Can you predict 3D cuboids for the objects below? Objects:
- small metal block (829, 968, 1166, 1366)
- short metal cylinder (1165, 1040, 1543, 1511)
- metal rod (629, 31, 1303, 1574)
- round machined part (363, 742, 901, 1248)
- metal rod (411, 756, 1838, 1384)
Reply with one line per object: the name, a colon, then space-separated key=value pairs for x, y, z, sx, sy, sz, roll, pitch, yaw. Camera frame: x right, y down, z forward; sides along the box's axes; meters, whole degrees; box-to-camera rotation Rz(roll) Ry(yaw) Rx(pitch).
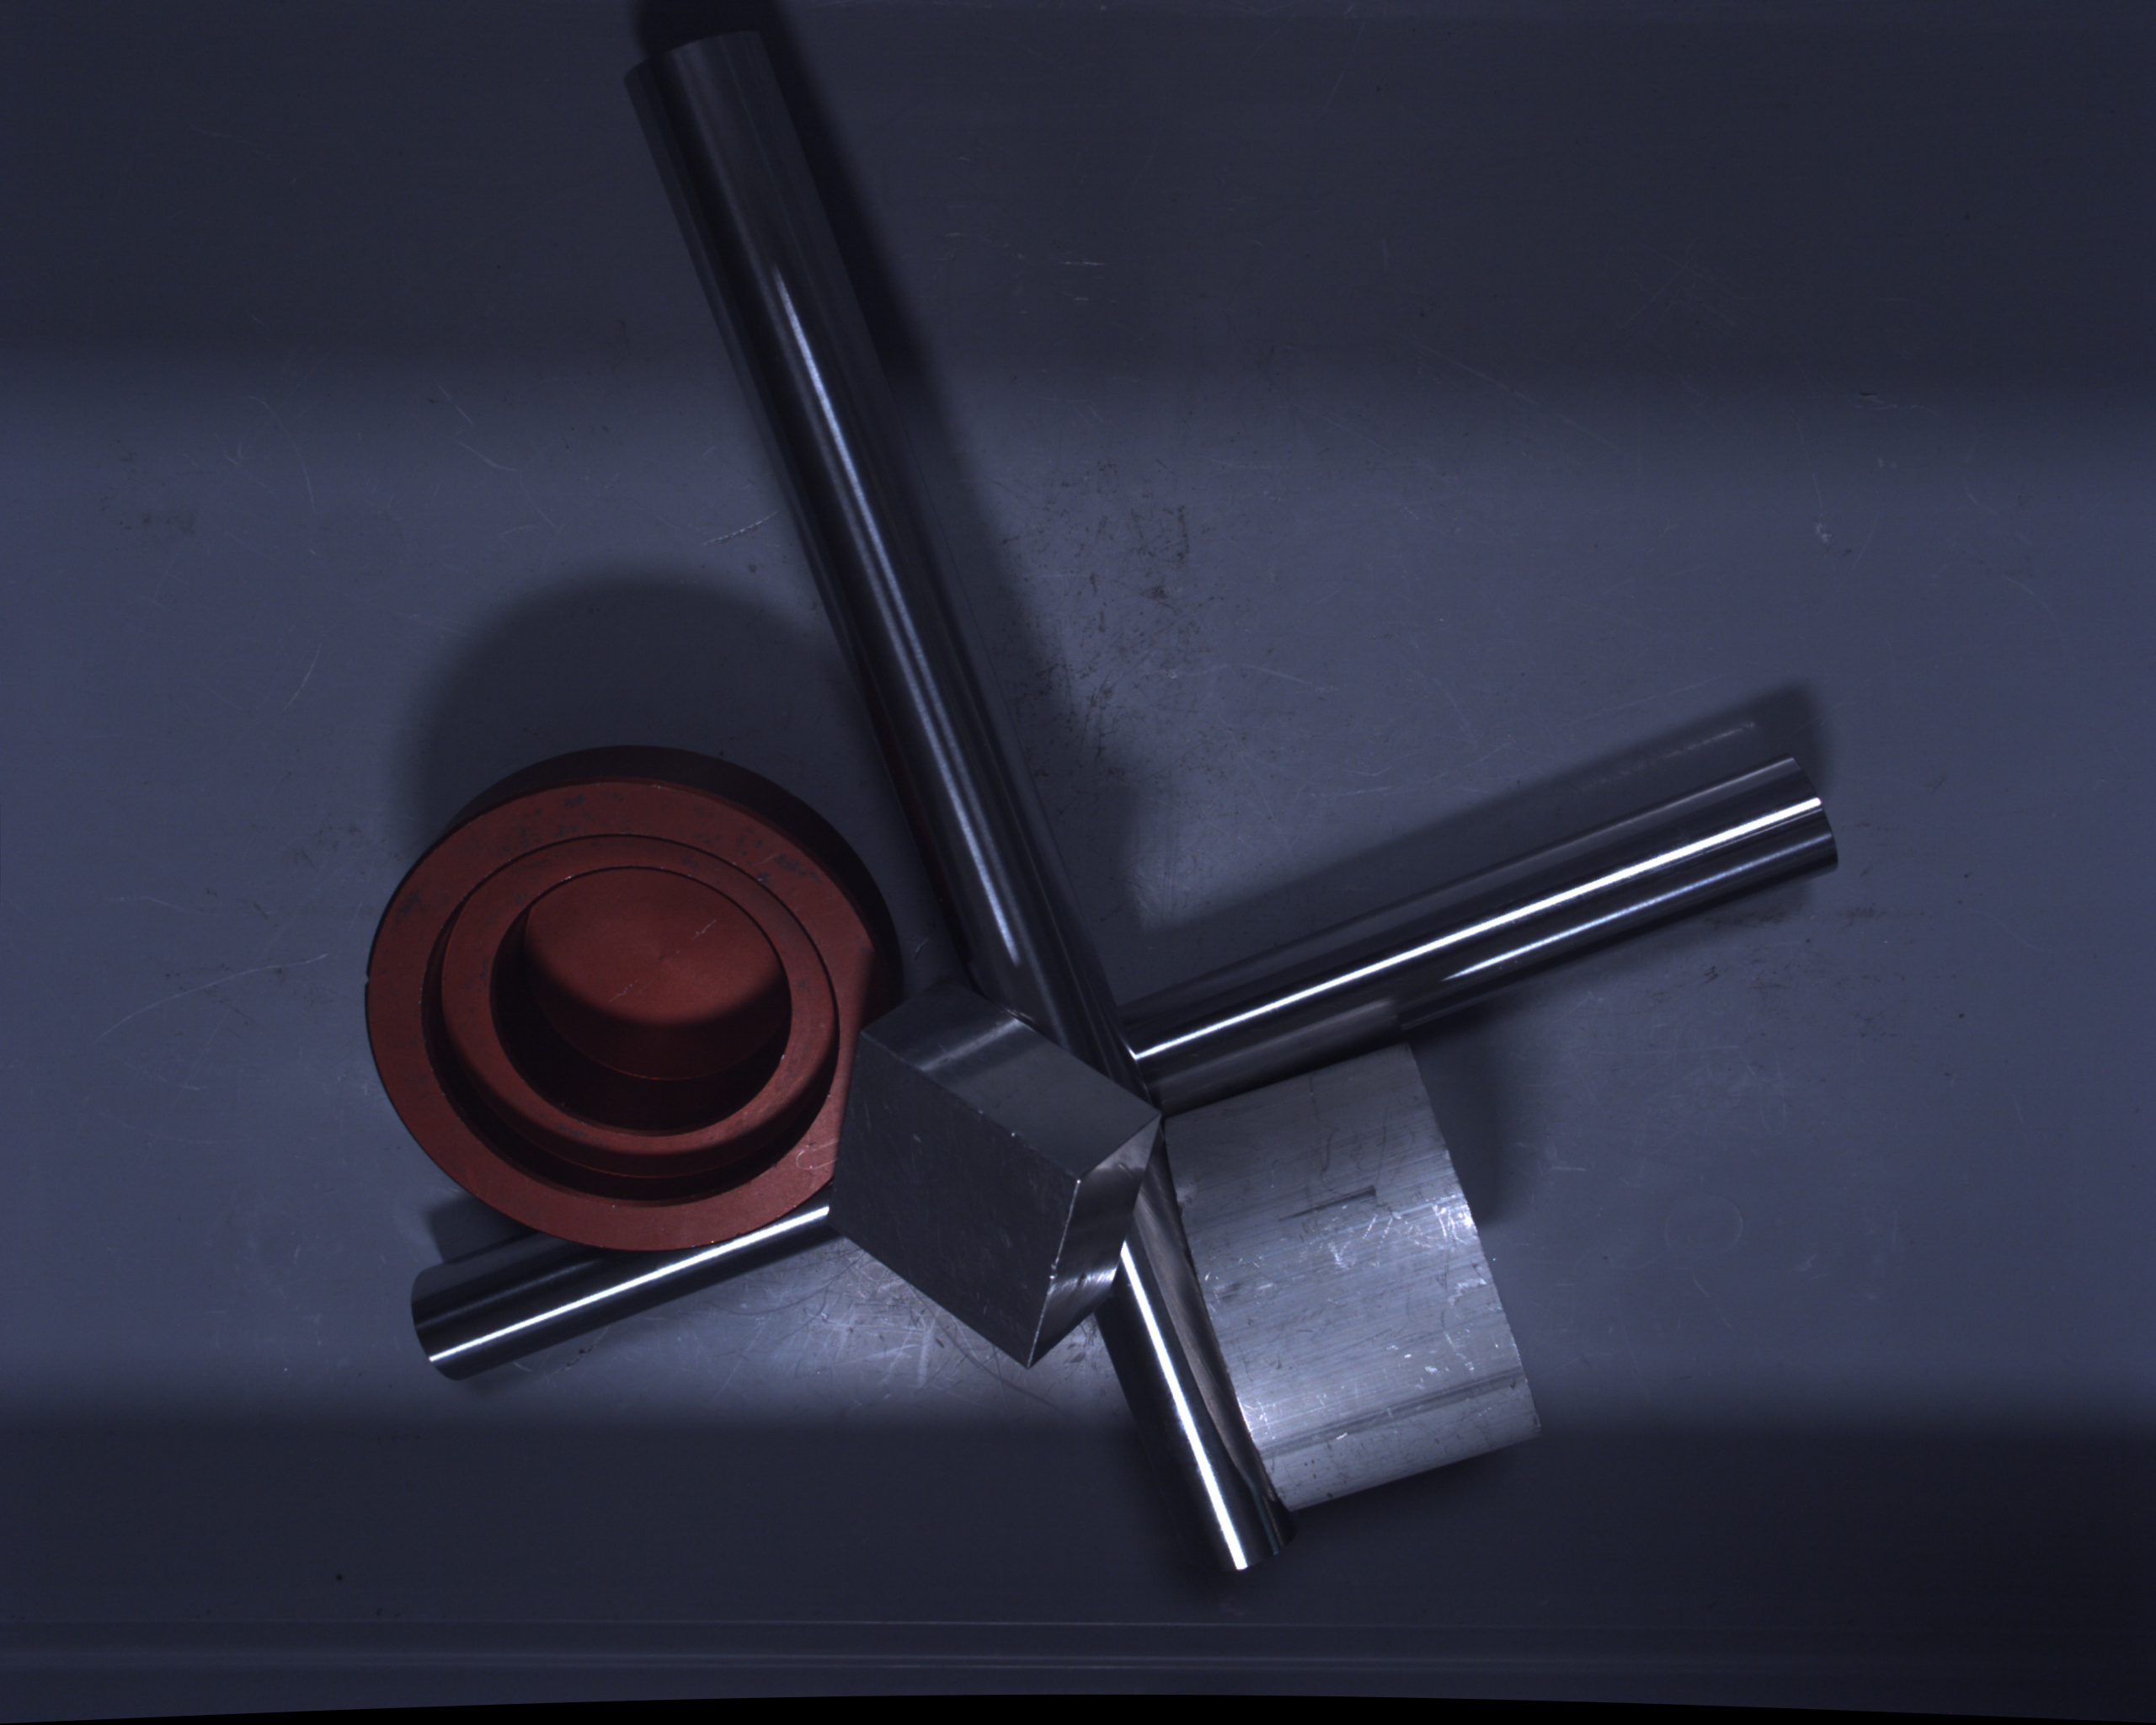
small metal block: x=-0.016 y=0.056 z=0.386 sx=0.050 sy=0.025 sz=0.050 roll=31 pitch=129 yaw=23
short metal cylinder: x=0.054 y=0.081 z=0.411 sx=0.050 sy=0.080 sz=0.080 roll=-19 pitch=109 yaw=6
metal rod: x=-0.016 y=-0.001 z=0.390 sx=0.025 sy=0.025 sz=0.298 roll=-18 pitch=102 yaw=6
round machined part: x=-0.084 y=0.023 z=0.408 sx=0.099 sy=0.042 sz=0.097 roll=0 pitch=110 yaw=-1
metal rod: x=0.004 y=0.045 z=0.426 sx=0.301 sy=0.025 sz=0.025 roll=-21 pitch=109 yaw=7
